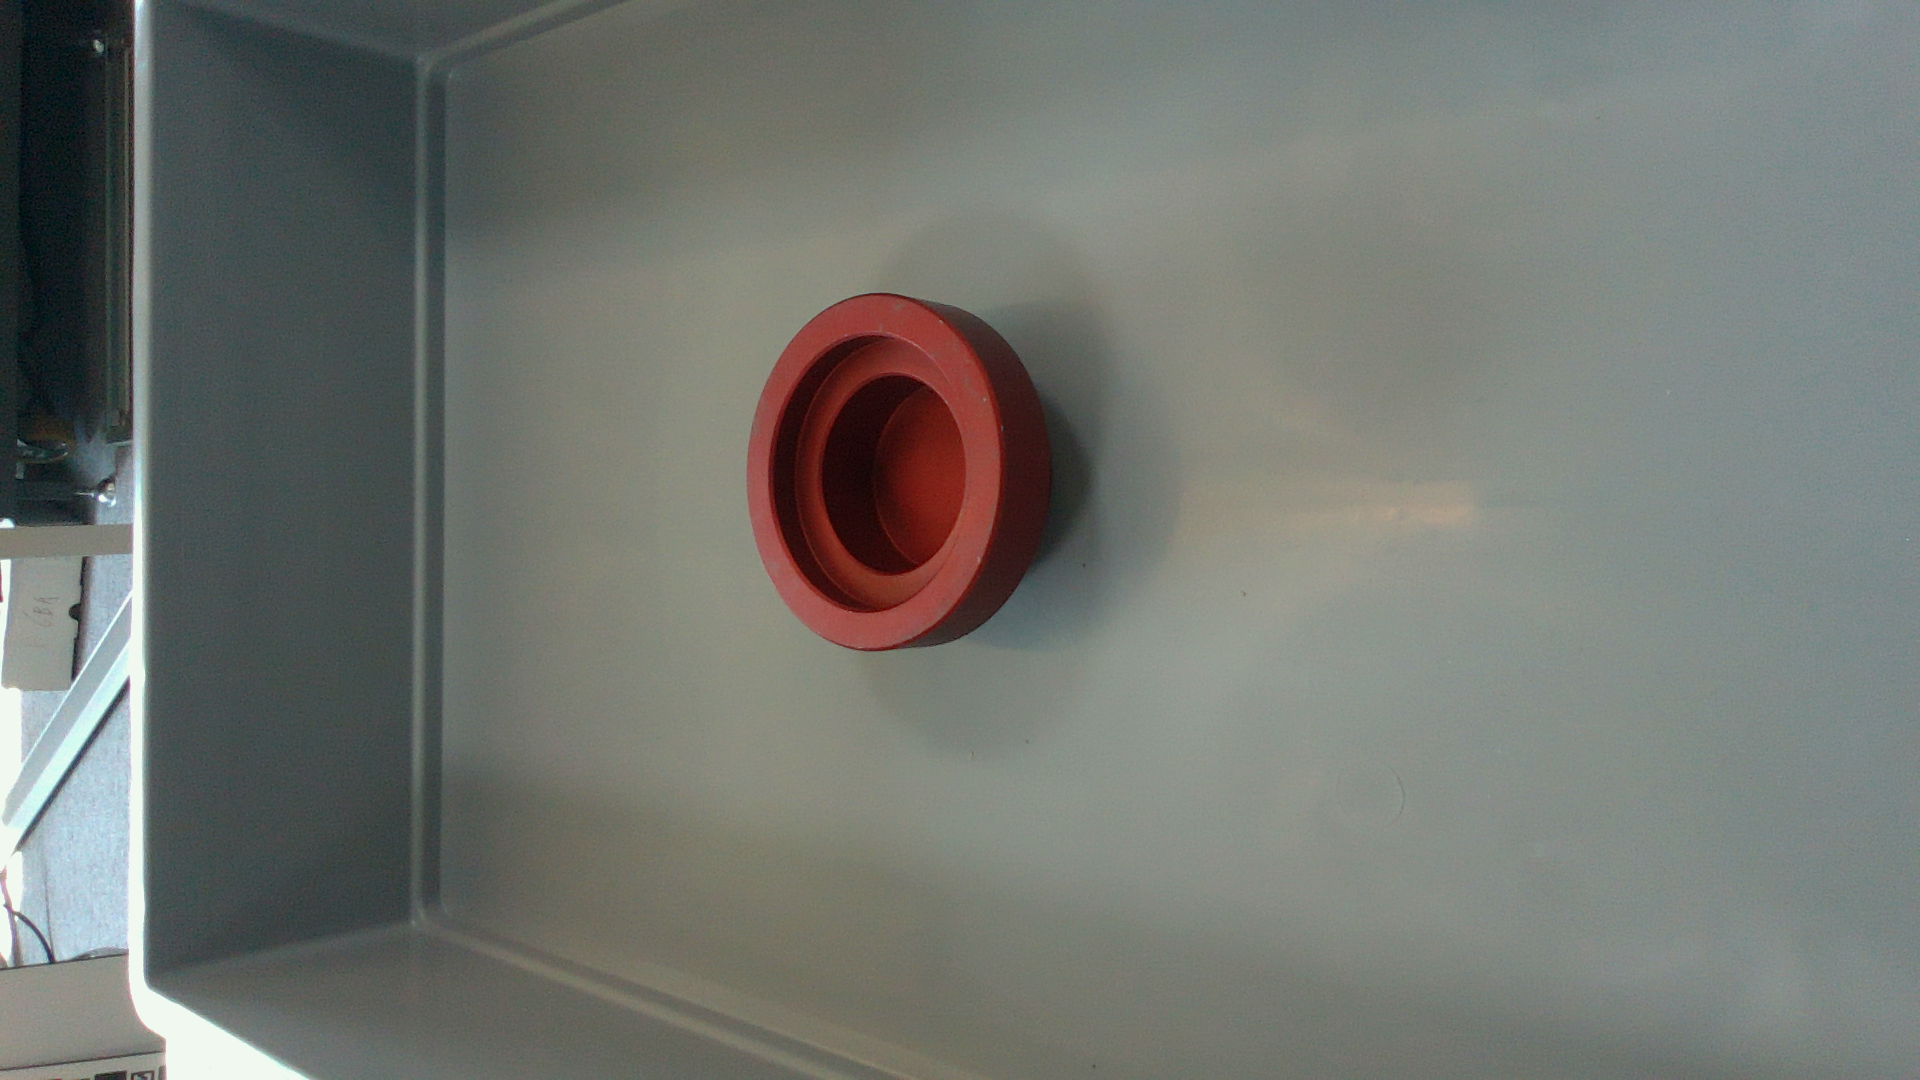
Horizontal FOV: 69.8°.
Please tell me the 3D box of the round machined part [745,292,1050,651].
[{"bbox_3d":[-0.013,-0.019,0.391,0.098,0.042,0.098,0,90,40],"label":"round machined part"}]
